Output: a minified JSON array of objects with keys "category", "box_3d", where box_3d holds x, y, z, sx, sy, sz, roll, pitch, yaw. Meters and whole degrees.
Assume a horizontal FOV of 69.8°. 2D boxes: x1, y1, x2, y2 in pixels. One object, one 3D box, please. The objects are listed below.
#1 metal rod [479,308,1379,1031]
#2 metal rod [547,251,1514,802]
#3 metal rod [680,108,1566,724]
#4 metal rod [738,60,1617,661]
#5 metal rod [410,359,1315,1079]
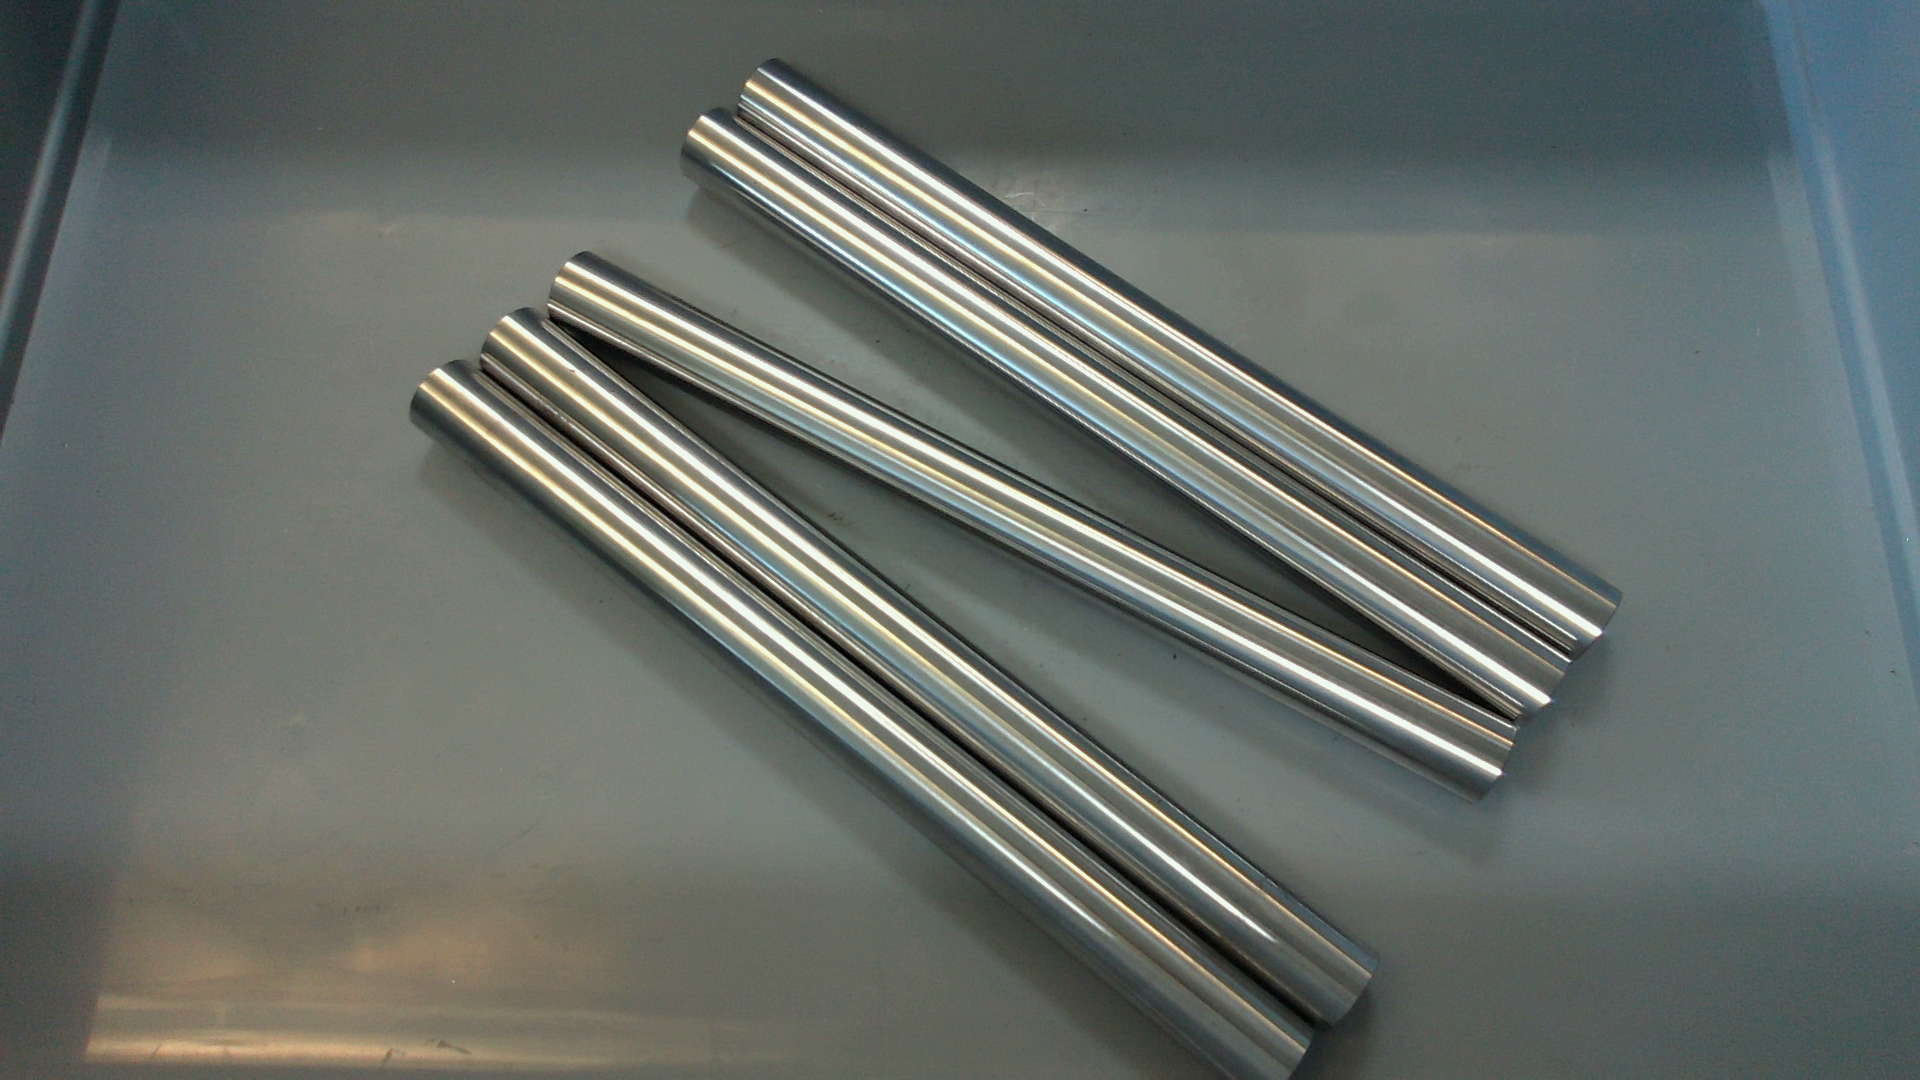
[{"category":"metal rod","box_3d":[-0.018,0.028,0.383,0.300,0.025,0.025,37,74,12]},{"category":"metal rod","box_3d":[0.012,-0.008,0.397,0.300,0.025,0.025,28,72,9]},{"category":"metal rod","box_3d":[0.039,-0.042,0.409,0.300,0.025,0.025,35,74,12]},{"category":"metal rod","box_3d":[0.056,-0.060,0.416,0.300,0.025,0.025,35,74,12]},{"category":"metal rod","box_3d":[-0.036,0.044,0.377,0.300,0.025,0.025,37,74,12]}]
